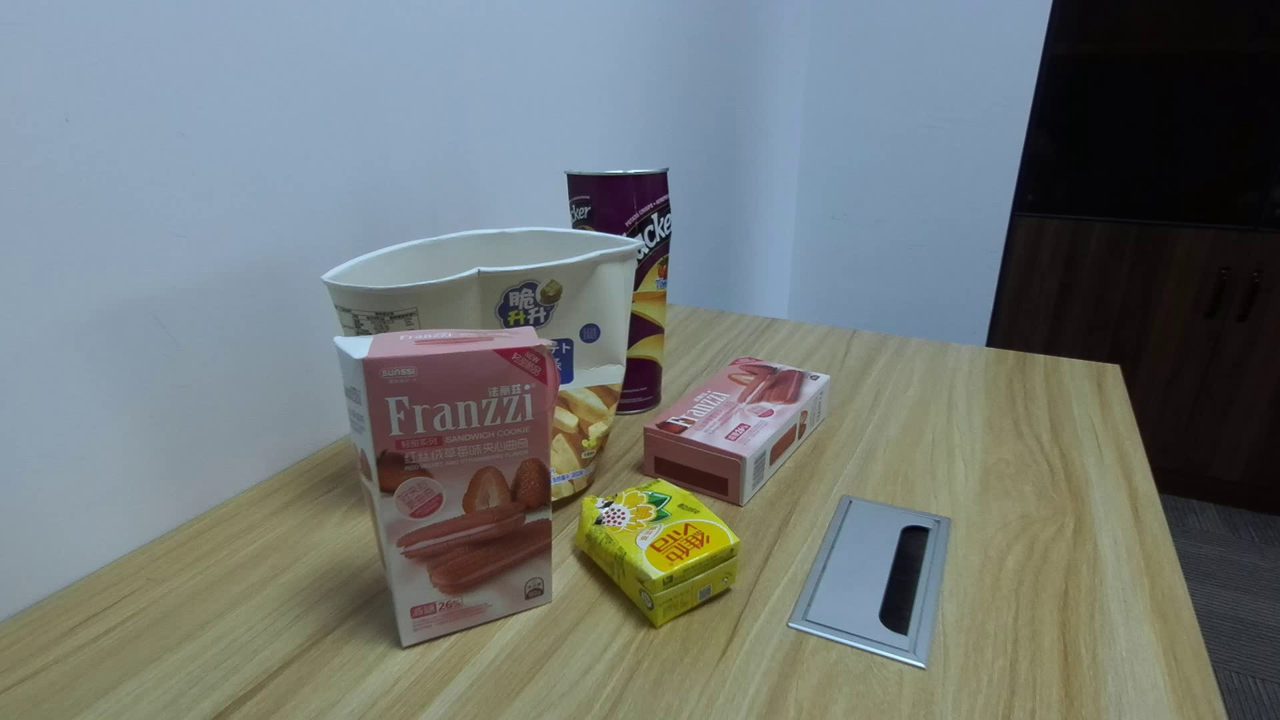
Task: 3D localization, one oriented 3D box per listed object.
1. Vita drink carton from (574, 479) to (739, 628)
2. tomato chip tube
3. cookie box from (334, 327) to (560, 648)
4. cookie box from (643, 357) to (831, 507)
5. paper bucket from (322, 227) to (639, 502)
[{"bbox_3d":[0.011,0.125,0.479,0.087,0.042,0.108,-18,24,-23],"label":"Vita drink carton"},{"bbox_3d":[-0.017,-0.067,0.695,0.077,0.235,0.076,14,26,36],"label":"tomato chip tube"},{"bbox_3d":[-0.106,0.072,0.424,0.119,0.184,0.055,-8,24,-17],"label":"cookie box"},{"bbox_3d":[0.091,0.056,0.634,0.096,0.048,0.185,14,26,31],"label":"cookie box"},{"bbox_3d":[-0.105,0.005,0.566,0.147,0.199,0.219,14,27,32],"label":"paper bucket"}]
